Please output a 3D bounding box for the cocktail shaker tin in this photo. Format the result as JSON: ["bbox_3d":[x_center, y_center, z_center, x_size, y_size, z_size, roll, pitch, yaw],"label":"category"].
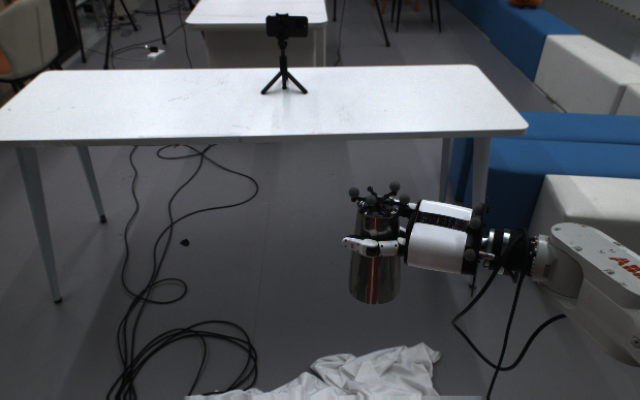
[{"bbox_3d":[0.098,0.078,0.815,0.093,0.170,0.093,-1,32,1],"label":"cocktail shaker tin"}]
